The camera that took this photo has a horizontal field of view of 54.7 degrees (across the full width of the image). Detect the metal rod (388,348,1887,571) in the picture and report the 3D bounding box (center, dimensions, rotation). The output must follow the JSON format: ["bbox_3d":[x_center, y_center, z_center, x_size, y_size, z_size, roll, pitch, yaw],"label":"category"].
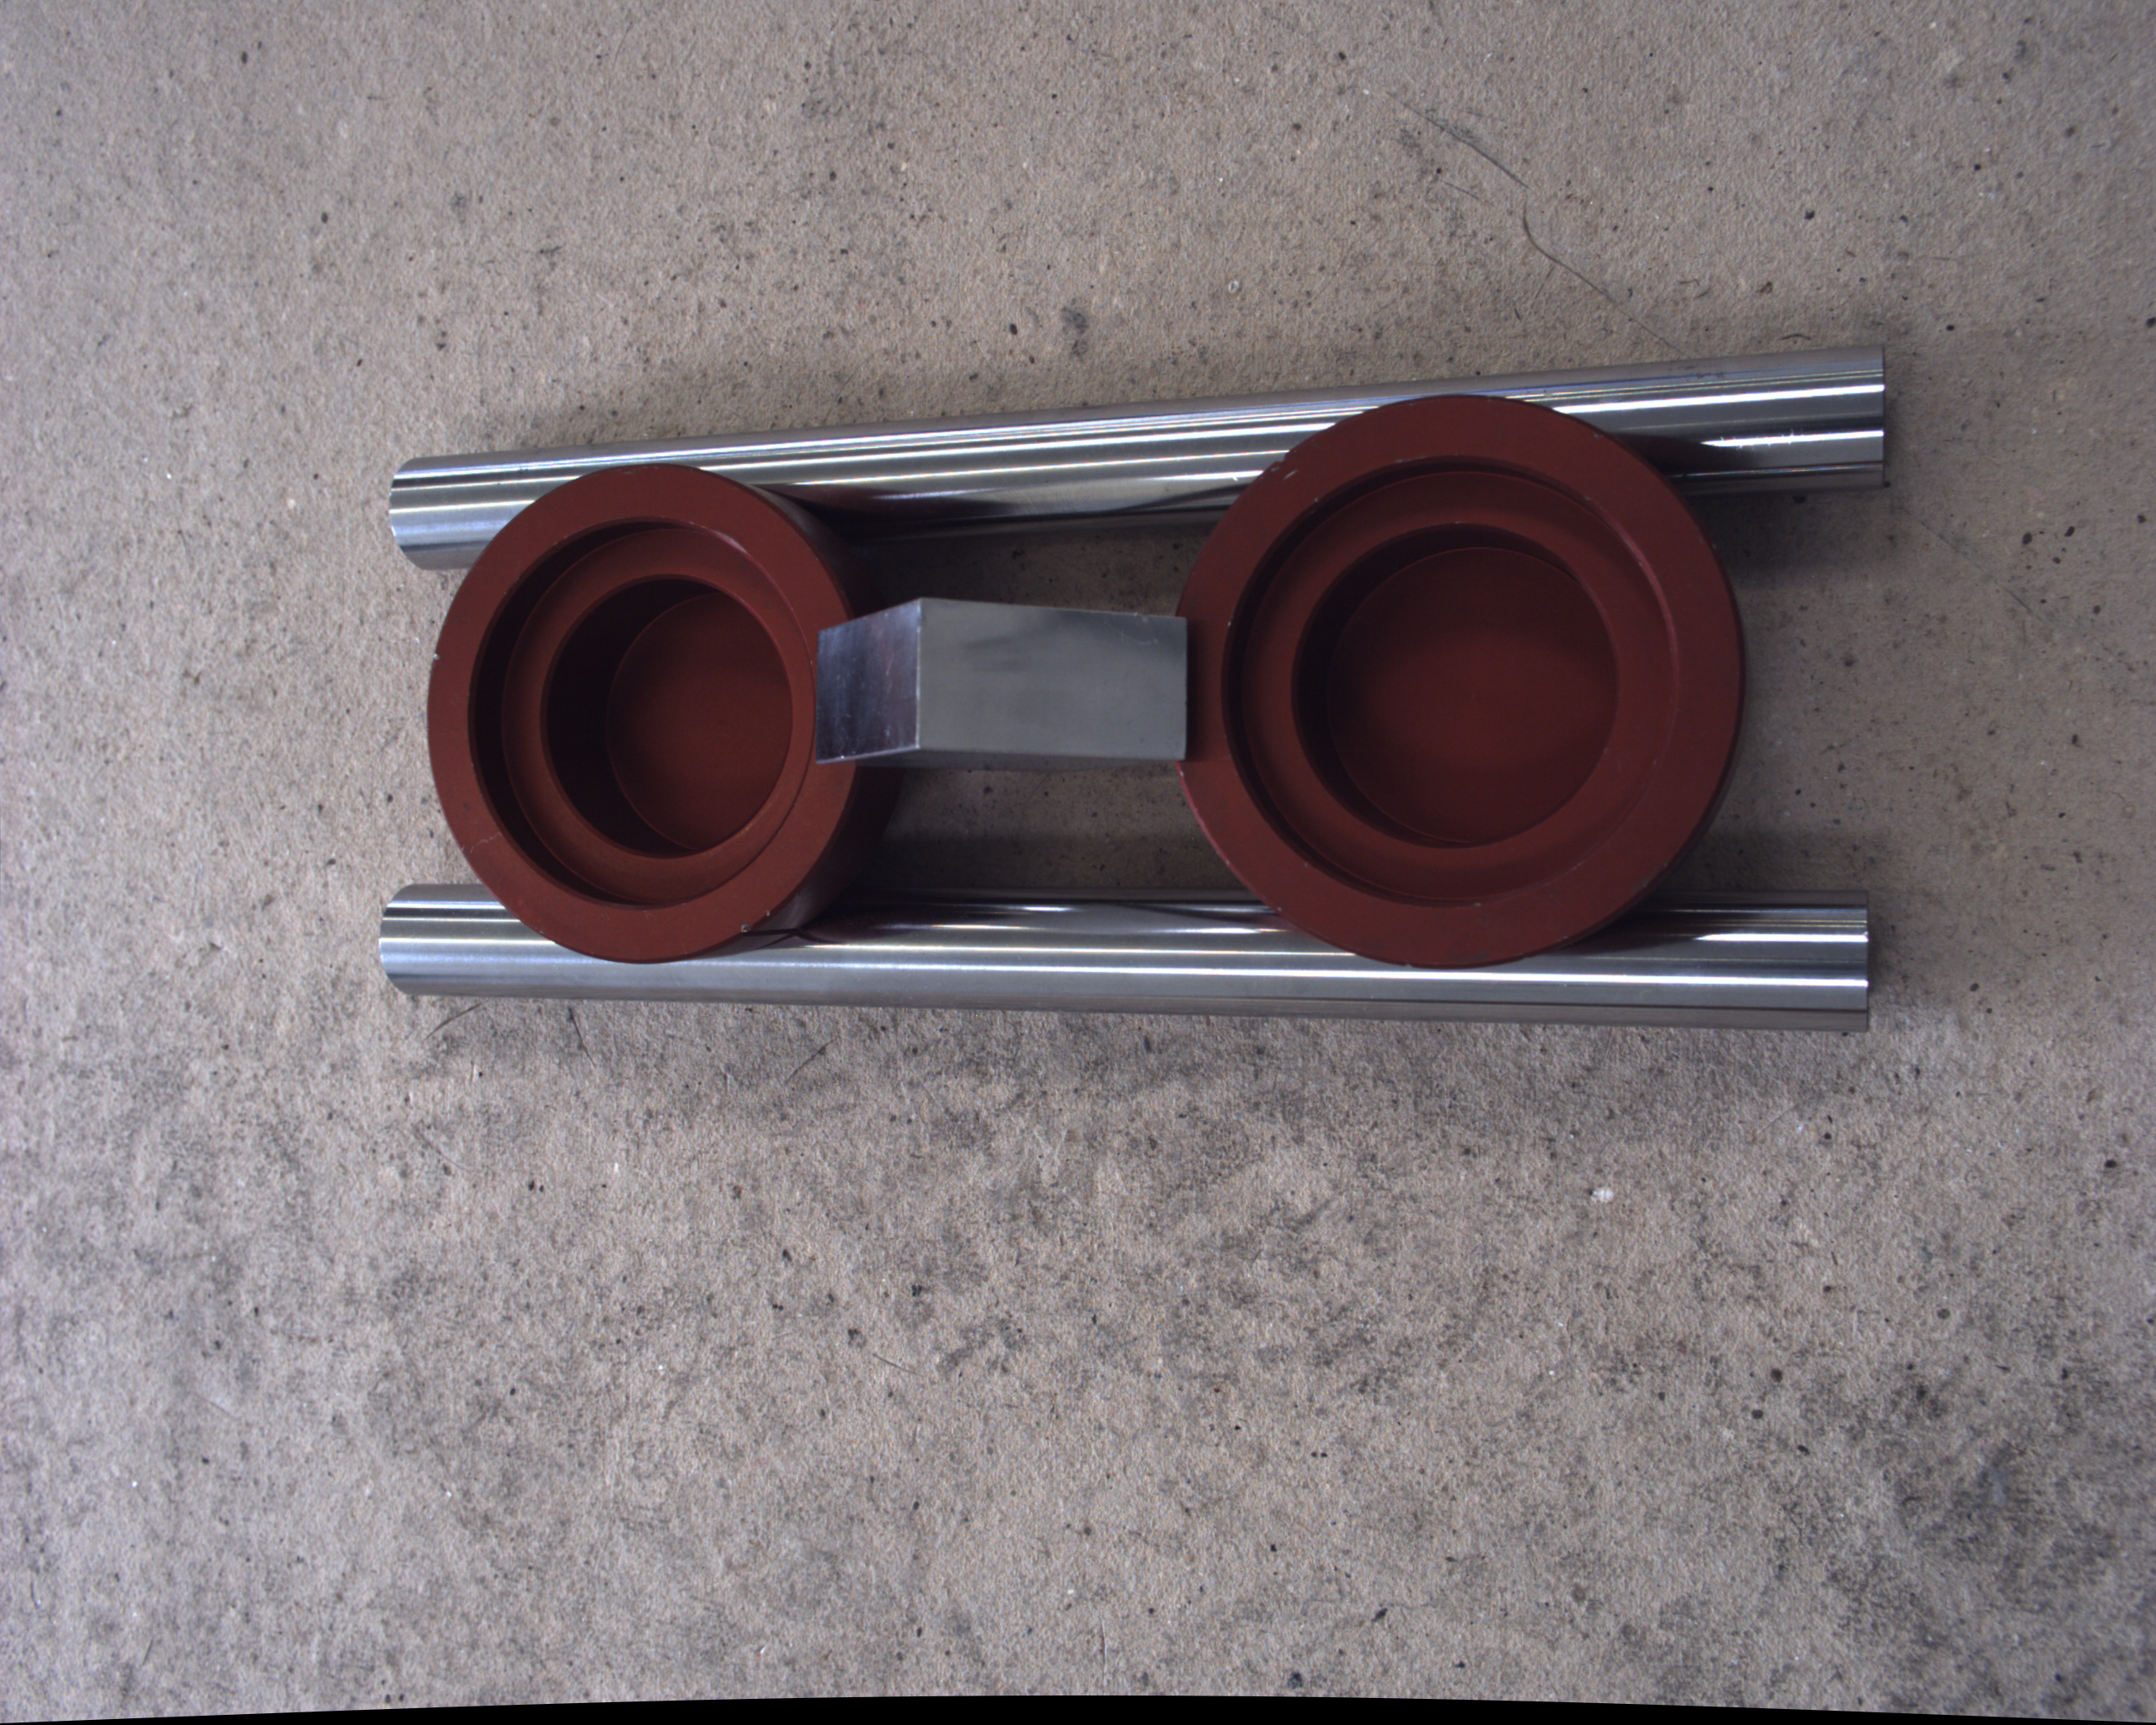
[{"bbox_3d":[-0.002,-0.076,0.410,0.301,0.025,0.025,0,90,19],"label":"metal rod"}]

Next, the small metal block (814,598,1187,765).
[{"bbox_3d":[-0.015,-0.030,0.374,0.050,0.050,0.025,-1,89,63],"label":"small metal block"}]

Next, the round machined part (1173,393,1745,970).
[{"bbox_3d":[0.068,-0.031,0.371,0.098,0.042,0.097,0,90,20],"label":"round machined part"}]

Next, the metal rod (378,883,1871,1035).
[{"bbox_3d":[-0.005,0.017,0.411,0.301,0.025,0.025,0,90,19],"label":"metal rod"}]

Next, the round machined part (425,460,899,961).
[{"bbox_3d":[-0.079,-0.030,0.424,0.098,0.042,0.097,0,90,20],"label":"round machined part"}]
